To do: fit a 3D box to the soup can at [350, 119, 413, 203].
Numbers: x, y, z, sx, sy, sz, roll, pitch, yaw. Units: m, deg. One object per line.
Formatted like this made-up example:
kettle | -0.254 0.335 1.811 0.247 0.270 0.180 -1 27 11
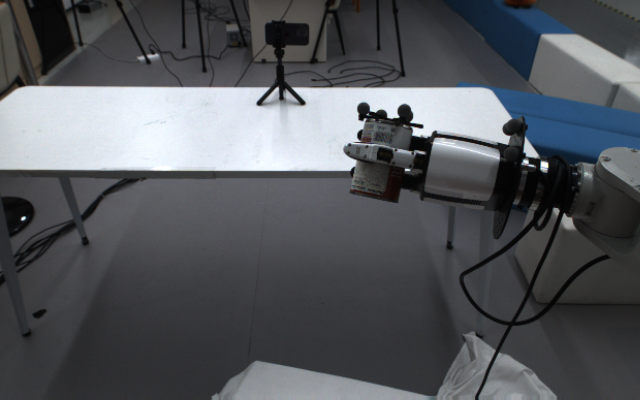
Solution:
soup can | 0.084 -0.052 0.654 0.067 0.101 0.067 12 2 0
